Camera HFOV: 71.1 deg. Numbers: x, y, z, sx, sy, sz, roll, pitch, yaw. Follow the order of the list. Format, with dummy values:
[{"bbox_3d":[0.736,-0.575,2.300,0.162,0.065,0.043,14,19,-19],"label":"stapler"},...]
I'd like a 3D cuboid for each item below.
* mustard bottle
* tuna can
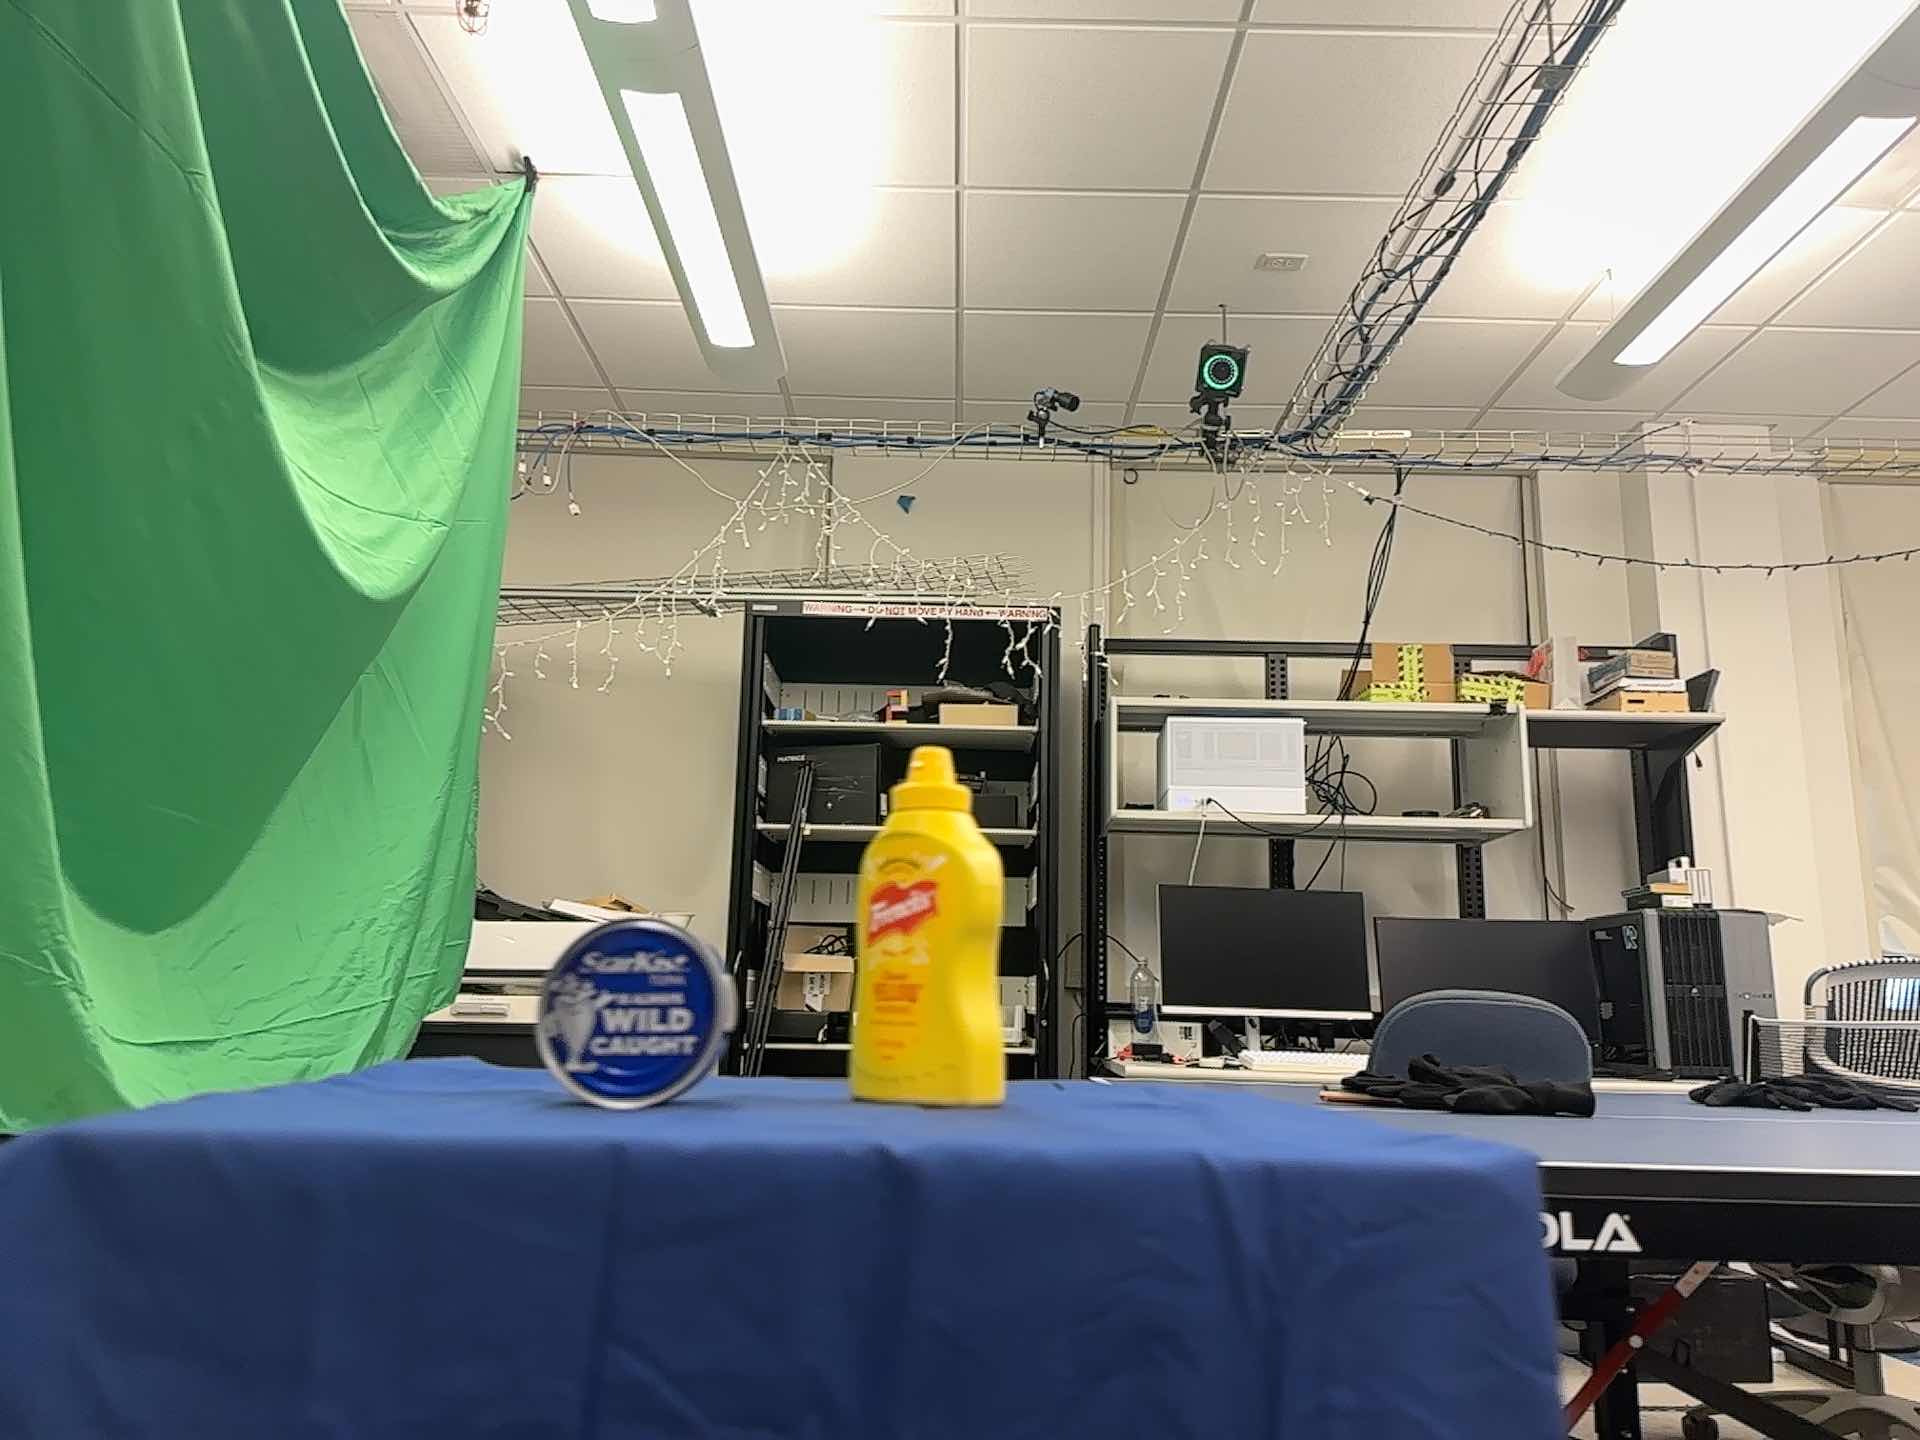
[{"bbox_3d":[-0.017,0.101,0.687,0.054,0.184,0.092,11,-15,-39],"label":"mustard bottle"},{"bbox_3d":[-0.149,0.135,0.635,0.083,0.083,0.034,1,-12,3],"label":"tuna can"}]
